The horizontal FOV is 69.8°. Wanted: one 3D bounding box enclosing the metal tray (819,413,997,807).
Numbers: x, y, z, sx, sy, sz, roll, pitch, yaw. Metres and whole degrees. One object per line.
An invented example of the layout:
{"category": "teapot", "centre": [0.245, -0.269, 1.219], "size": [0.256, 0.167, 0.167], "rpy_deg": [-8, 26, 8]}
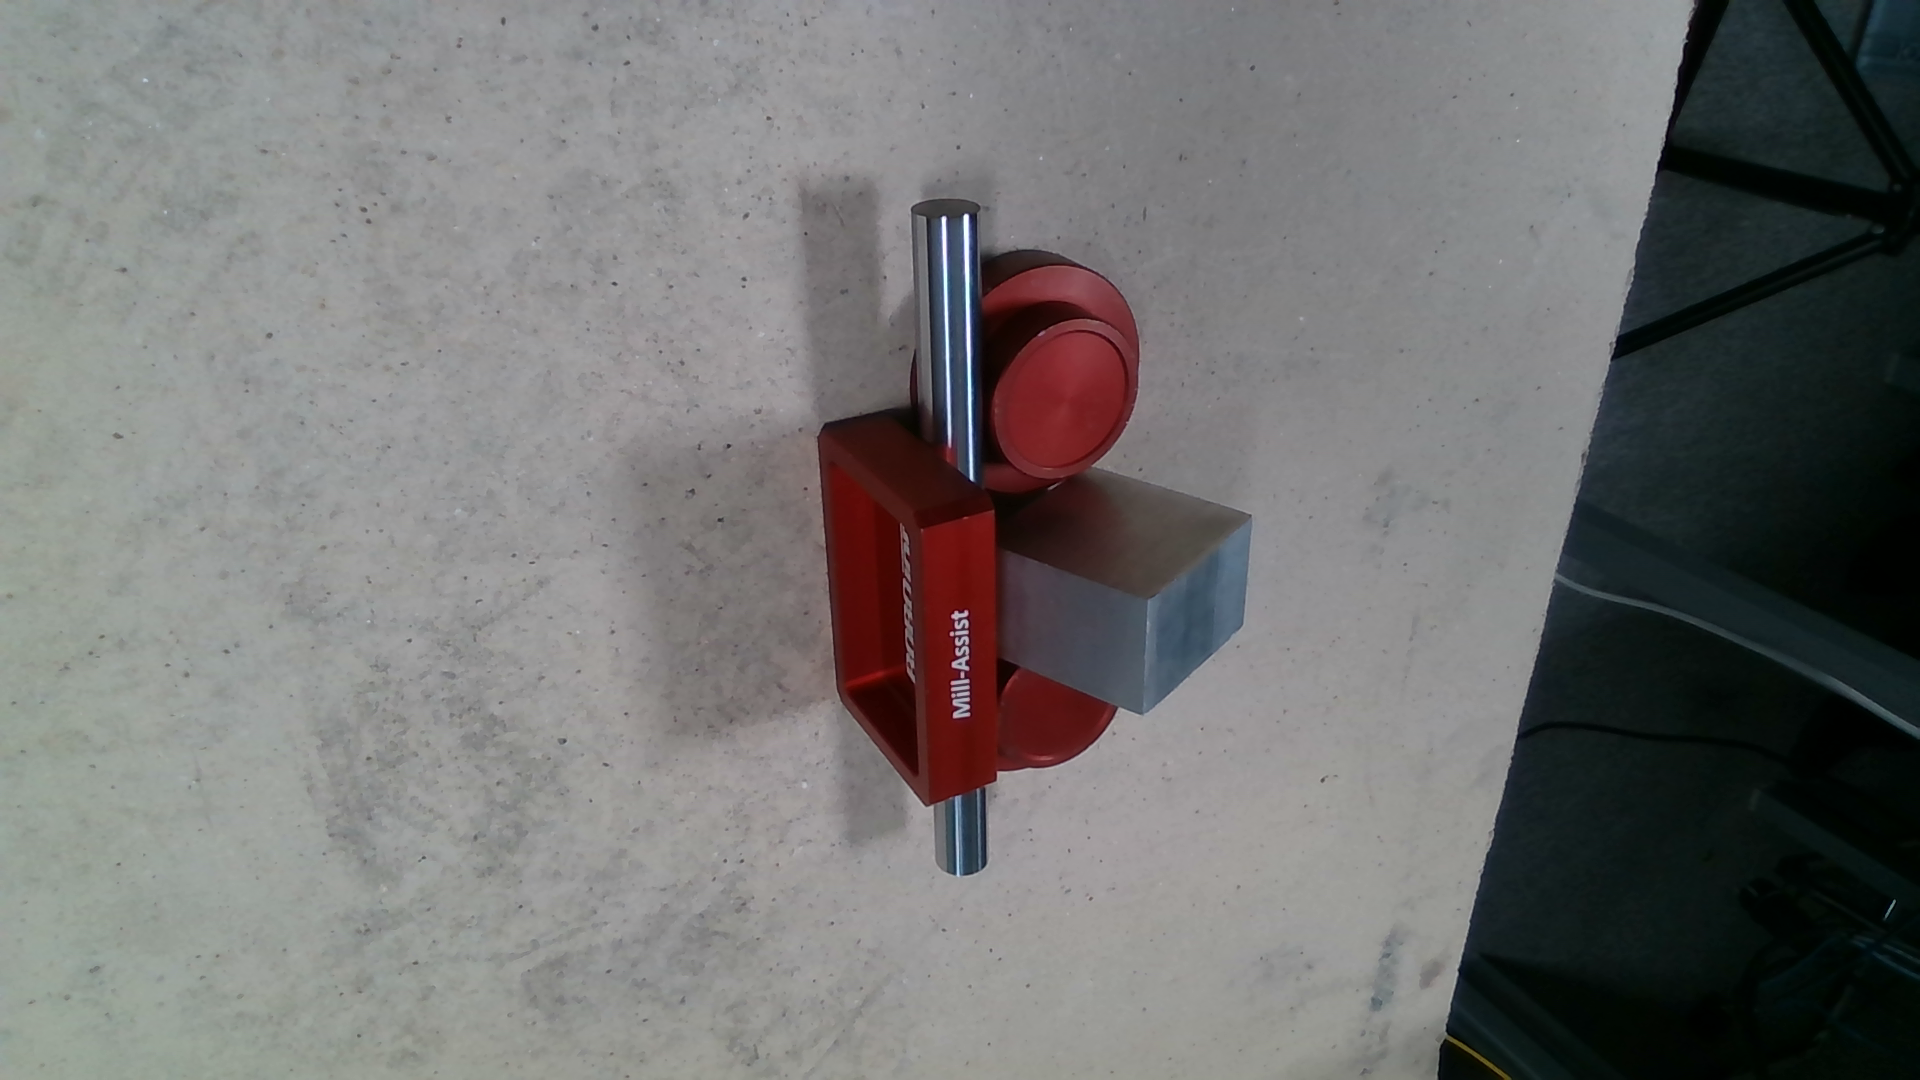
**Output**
{"category": "metal tray", "centre": [-0.021, 0.027, 0.540], "size": [0.030, 0.090, 0.130], "rpy_deg": [-16, 122, -24]}

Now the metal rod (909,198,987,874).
{"category": "metal rod", "centre": [-0.003, 0.014, 0.560], "size": [0.025, 0.025, 0.301], "rpy_deg": [-16, 122, -24]}

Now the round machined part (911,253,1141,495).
{"category": "round machined part", "centre": [0.033, -0.063, 0.554], "size": [0.098, 0.042, 0.098], "rpy_deg": [-14, 122, -25]}

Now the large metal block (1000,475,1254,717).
{"category": "large metal block", "centre": [0.062, 0.018, 0.559], "size": [0.080, 0.080, 0.050], "rpy_deg": [-34, 132, -43]}

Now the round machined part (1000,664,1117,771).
{"category": "round machined part", "centre": [0.036, 0.064, 0.625], "size": [0.098, 0.042, 0.098], "rpy_deg": [-14, 122, -25]}
